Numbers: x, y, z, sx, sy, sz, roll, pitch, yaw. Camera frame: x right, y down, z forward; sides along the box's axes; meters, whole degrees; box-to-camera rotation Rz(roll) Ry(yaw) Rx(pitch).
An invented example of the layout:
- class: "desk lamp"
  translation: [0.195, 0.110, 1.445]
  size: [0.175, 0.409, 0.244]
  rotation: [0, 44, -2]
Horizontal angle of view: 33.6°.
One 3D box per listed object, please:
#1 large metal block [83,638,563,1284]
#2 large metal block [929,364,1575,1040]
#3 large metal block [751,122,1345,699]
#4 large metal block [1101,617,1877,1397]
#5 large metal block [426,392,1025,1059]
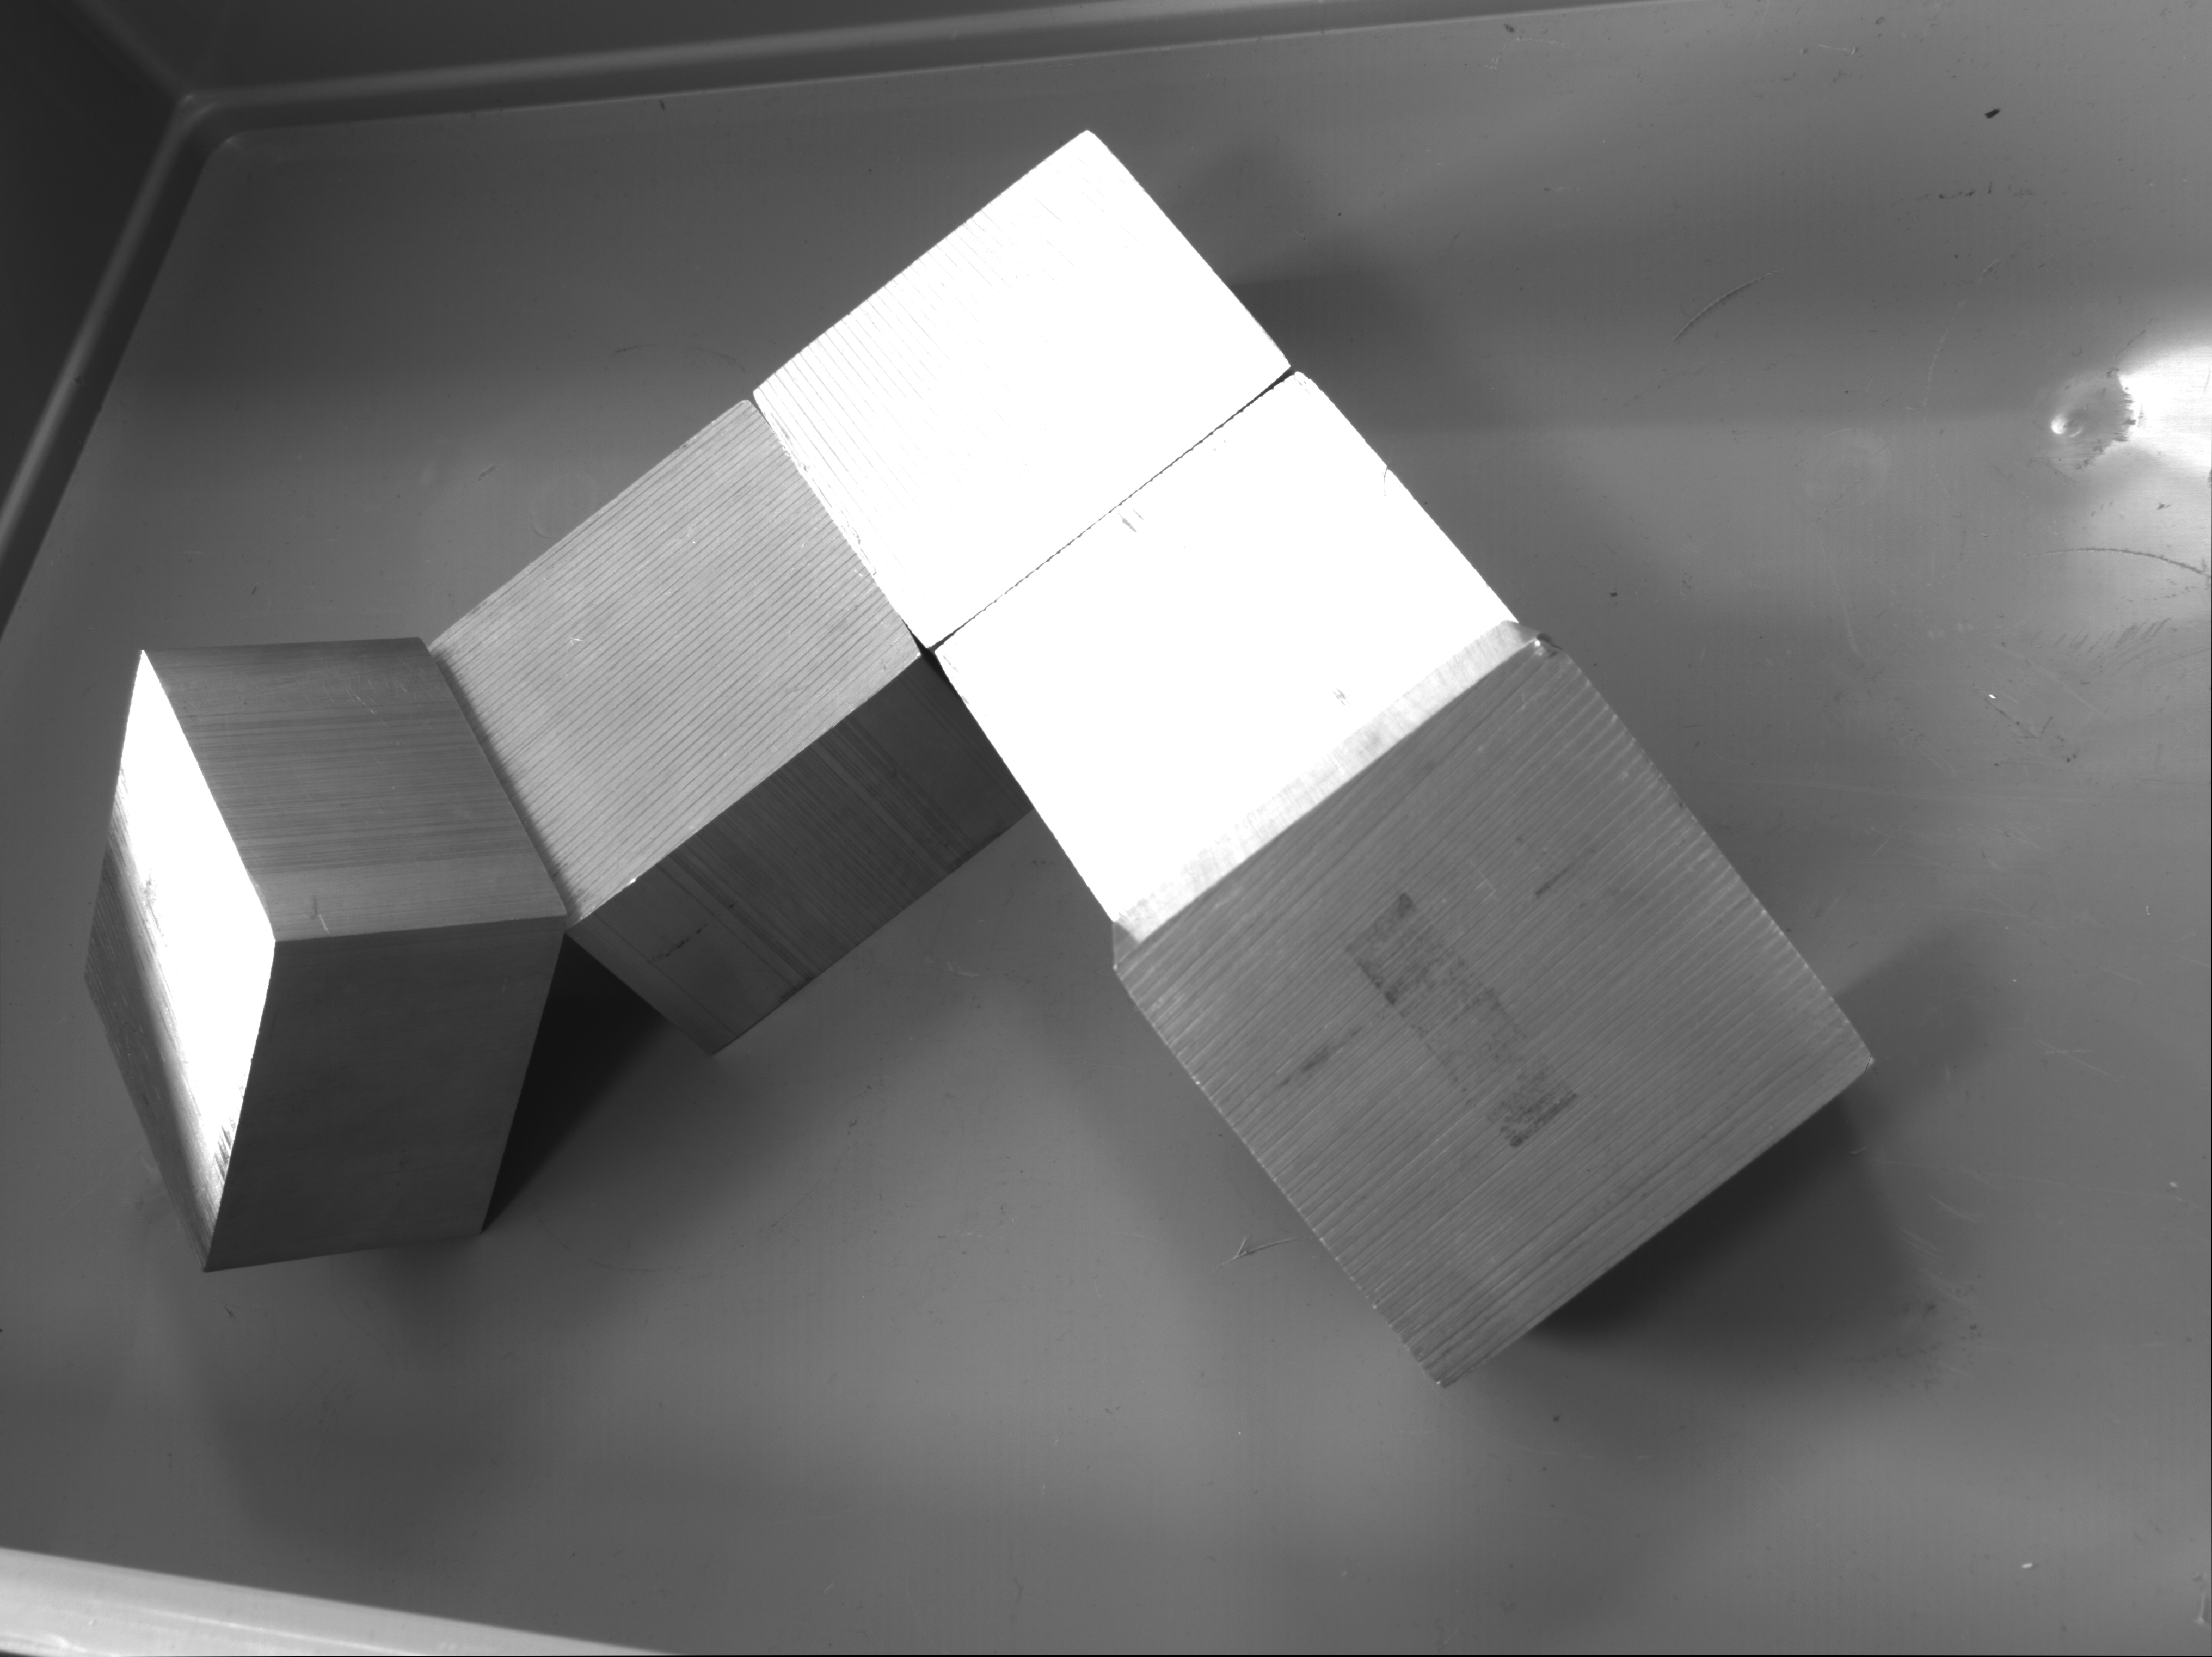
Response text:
- class: "large metal block"
  translation: [-0.144, 0.023, 0.663]
  size: [0.080, 0.050, 0.080]
  rotation: [55, 137, 39]
- class: "large metal block"
  translation: [0.029, -0.018, 0.622]
  size: [0.080, 0.050, 0.080]
  rotation: [-38, 51, 3]
- class: "large metal block"
  translation: [-0.006, -0.069, 0.672]
  size: [0.080, 0.050, 0.080]
  rotation: [-38, 51, 3]
- class: "large metal block"
  translation: [0.055, 0.025, 0.554]
  size: [0.080, 0.050, 0.080]
  rotation: [-38, 94, 3]
- class: "large metal block"
  translation: [-0.070, -0.019, 0.676]
  size: [0.080, 0.050, 0.080]
  rotation: [-38, 51, 3]
